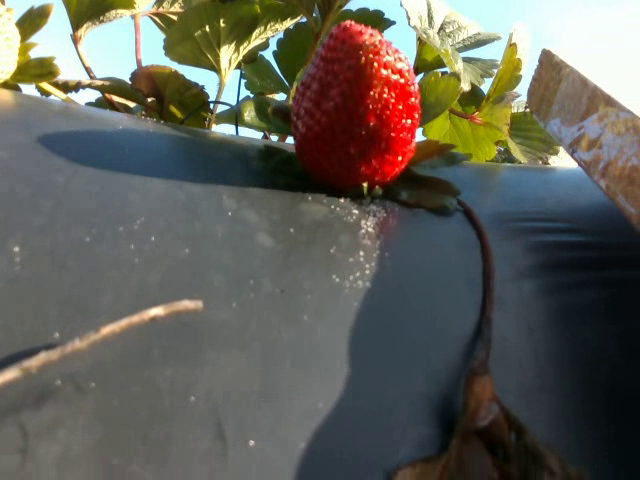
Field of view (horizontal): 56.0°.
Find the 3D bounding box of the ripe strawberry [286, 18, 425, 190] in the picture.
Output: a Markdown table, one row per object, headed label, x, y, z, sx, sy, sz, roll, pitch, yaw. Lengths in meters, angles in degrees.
| label | x | y | z | sx | sy | sz | roll | pitch | yaw |
| --- | --- | --- | --- | --- | --- | --- | --- | --- | --- |
| ripe strawberry | 0.003 | -0.012 | 0.054 | 0.016 | 0.015 | 0.022 | 12 | -20 | 1 |
